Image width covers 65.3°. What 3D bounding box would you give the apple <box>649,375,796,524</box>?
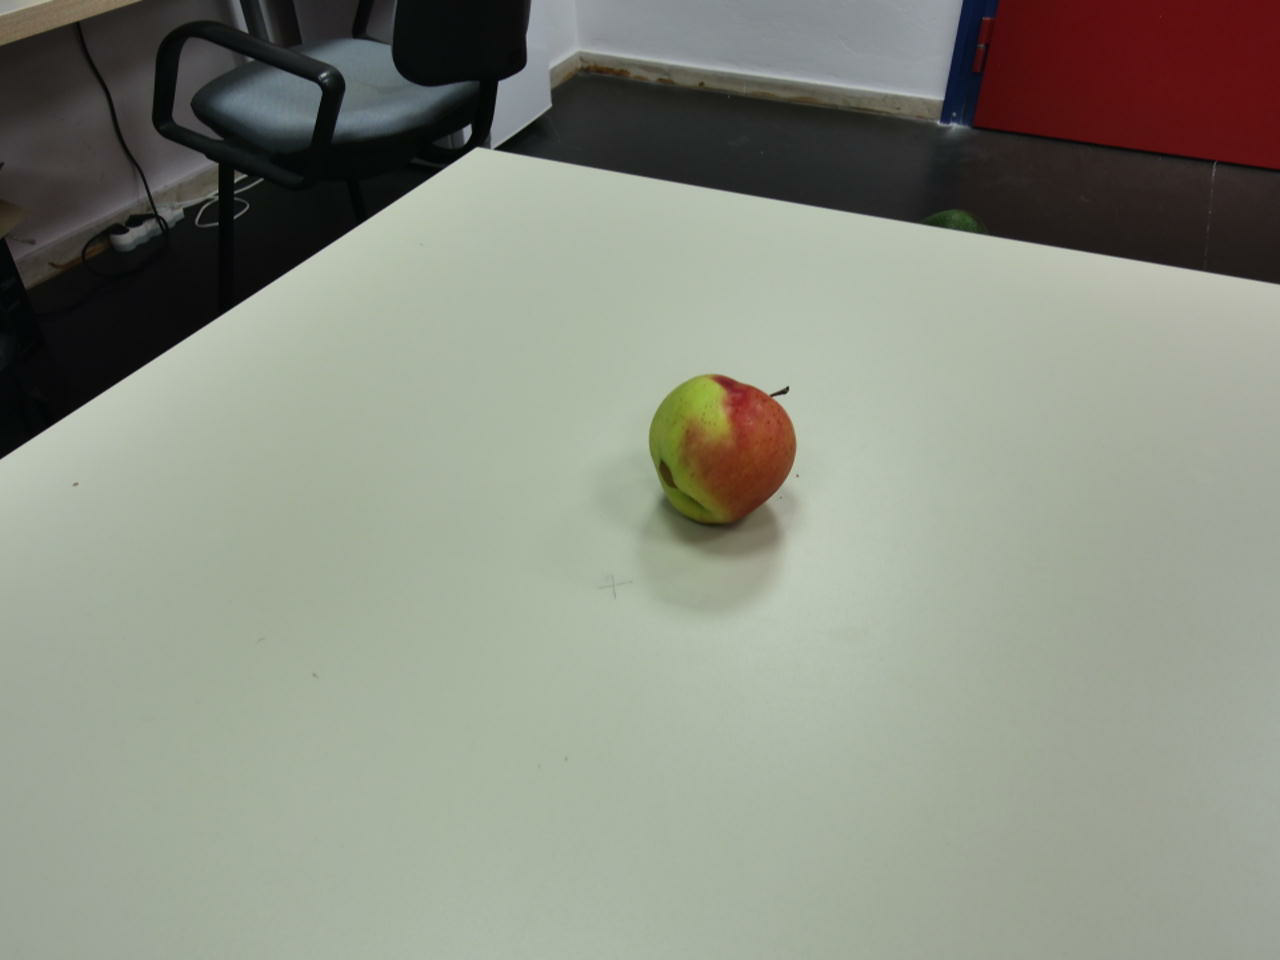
[{"bbox_3d":[0.041,-0.015,0.522,0.075,0.074,0.075,3,38,5],"label":"apple"}]
